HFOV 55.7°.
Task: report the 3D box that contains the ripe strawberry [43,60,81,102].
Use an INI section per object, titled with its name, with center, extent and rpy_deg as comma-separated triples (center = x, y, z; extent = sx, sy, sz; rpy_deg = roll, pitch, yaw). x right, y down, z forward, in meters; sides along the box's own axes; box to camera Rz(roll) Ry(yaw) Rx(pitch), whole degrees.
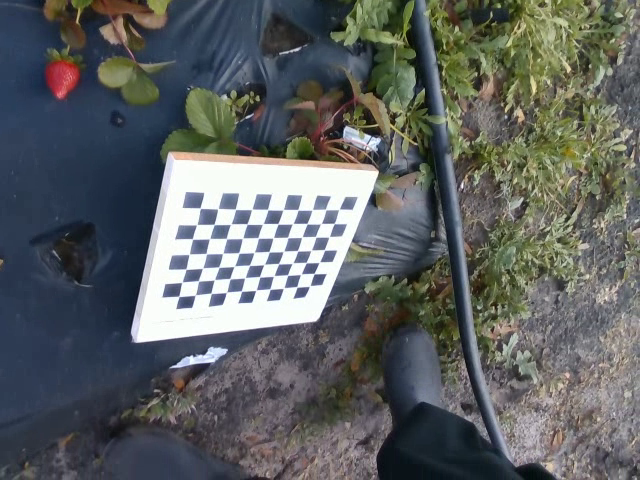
[ripe strawberry]
center = -0.274, -0.166, 0.638
extent = 0.041, 0.052, 0.044
rpy_deg = -9, -17, 32
